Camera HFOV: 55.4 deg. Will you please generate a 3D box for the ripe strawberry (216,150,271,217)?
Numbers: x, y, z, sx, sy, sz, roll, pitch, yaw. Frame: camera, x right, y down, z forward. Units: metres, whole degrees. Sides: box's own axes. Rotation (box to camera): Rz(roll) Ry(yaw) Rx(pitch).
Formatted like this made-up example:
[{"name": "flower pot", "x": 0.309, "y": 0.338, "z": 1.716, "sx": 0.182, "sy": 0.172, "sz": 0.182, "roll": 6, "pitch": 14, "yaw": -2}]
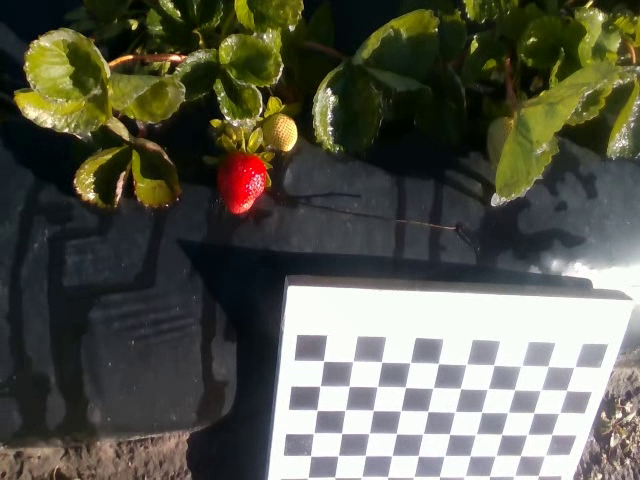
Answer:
[{"name": "ripe strawberry", "x": -0.044, "y": -0.028, "z": 0.341, "sx": 0.039, "sy": 0.039, "sz": 0.040, "roll": -2, "pitch": -41, "yaw": 4}]
